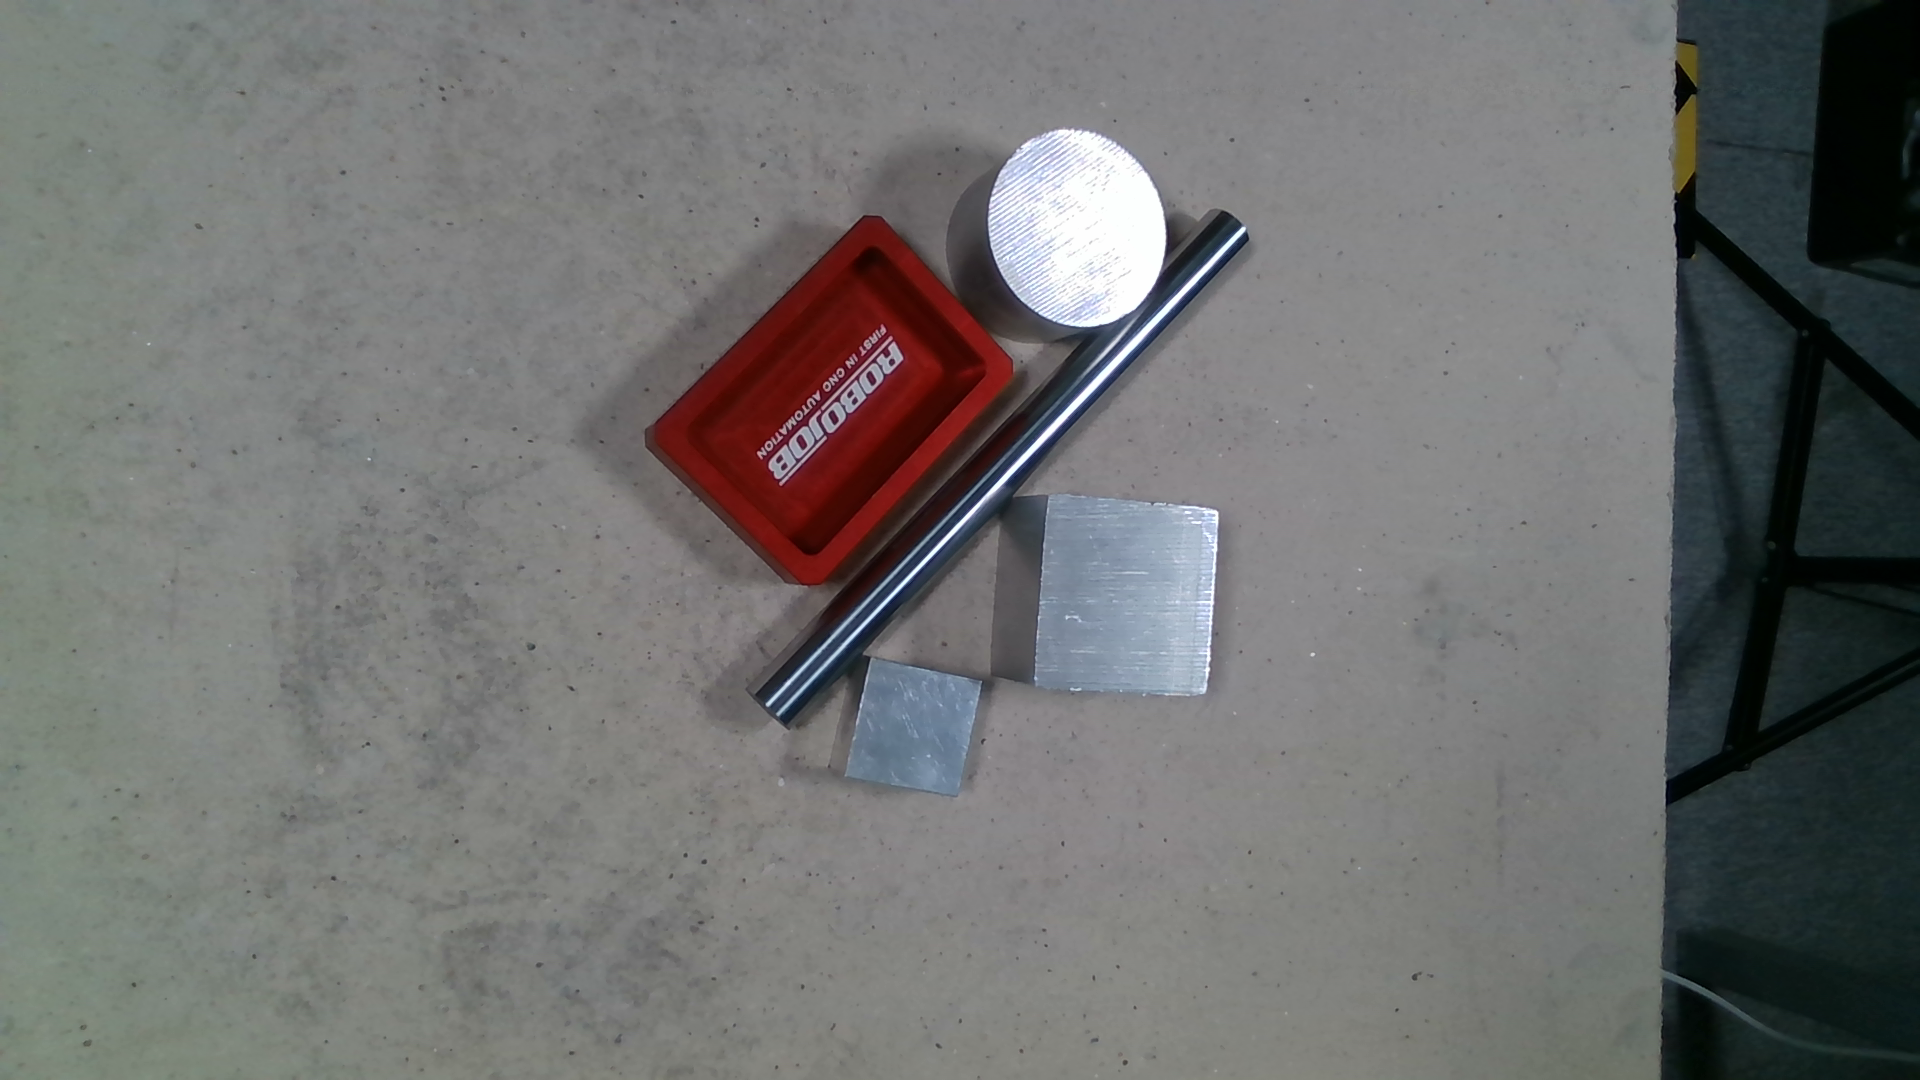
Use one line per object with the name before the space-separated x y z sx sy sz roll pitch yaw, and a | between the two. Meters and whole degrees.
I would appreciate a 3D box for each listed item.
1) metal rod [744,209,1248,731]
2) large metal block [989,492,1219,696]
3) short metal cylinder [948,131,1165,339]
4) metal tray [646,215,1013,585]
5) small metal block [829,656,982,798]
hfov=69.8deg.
metal rod | 0.022 -0.036 0.593 0.300 0.025 0.025 -46 105 -14
large metal block | 0.062 0.023 0.596 0.080 0.050 0.080 4 89 -20
short metal cylinder | 0.040 -0.127 0.587 0.080 0.050 0.080 0 90 -20
metal tray | -0.052 -0.056 0.564 0.090 0.030 0.130 46 76 -15
small metal block | -0.023 0.078 0.578 0.050 0.025 0.050 14 85 -20
